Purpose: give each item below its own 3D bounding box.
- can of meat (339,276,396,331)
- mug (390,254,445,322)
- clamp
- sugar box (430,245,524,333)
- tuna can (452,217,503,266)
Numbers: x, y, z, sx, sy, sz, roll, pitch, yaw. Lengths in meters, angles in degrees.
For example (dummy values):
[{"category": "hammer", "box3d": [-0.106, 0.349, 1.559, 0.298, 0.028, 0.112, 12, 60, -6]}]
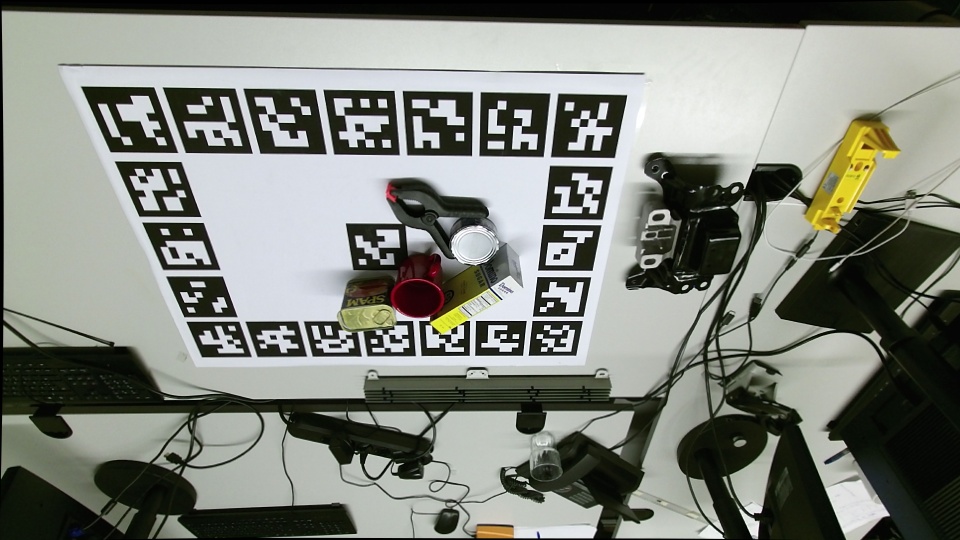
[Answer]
[{"category": "can of meat", "box3d": [-0.203, 0.059, 0.967, 0.102, 0.083, 0.058, -6, 127, 4]}, {"category": "mug", "box3d": [-0.101, 0.023, 0.934, 0.093, 0.081, 0.117, 22, 120, -16]}, {"category": "clamp", "box3d": [-0.080, -0.099, 0.886, 0.165, 0.036, 0.122, 32, 123, -18]}, {"category": "sugar box", "box3d": [-0.009, 0.034, 0.949, 0.177, 0.092, 0.045, -31, 122, 21]}, {"category": "tuna can", "box3d": [-0.004, -0.050, 0.917, 0.086, 0.033, 0.086, -1, 124, -1]}]
